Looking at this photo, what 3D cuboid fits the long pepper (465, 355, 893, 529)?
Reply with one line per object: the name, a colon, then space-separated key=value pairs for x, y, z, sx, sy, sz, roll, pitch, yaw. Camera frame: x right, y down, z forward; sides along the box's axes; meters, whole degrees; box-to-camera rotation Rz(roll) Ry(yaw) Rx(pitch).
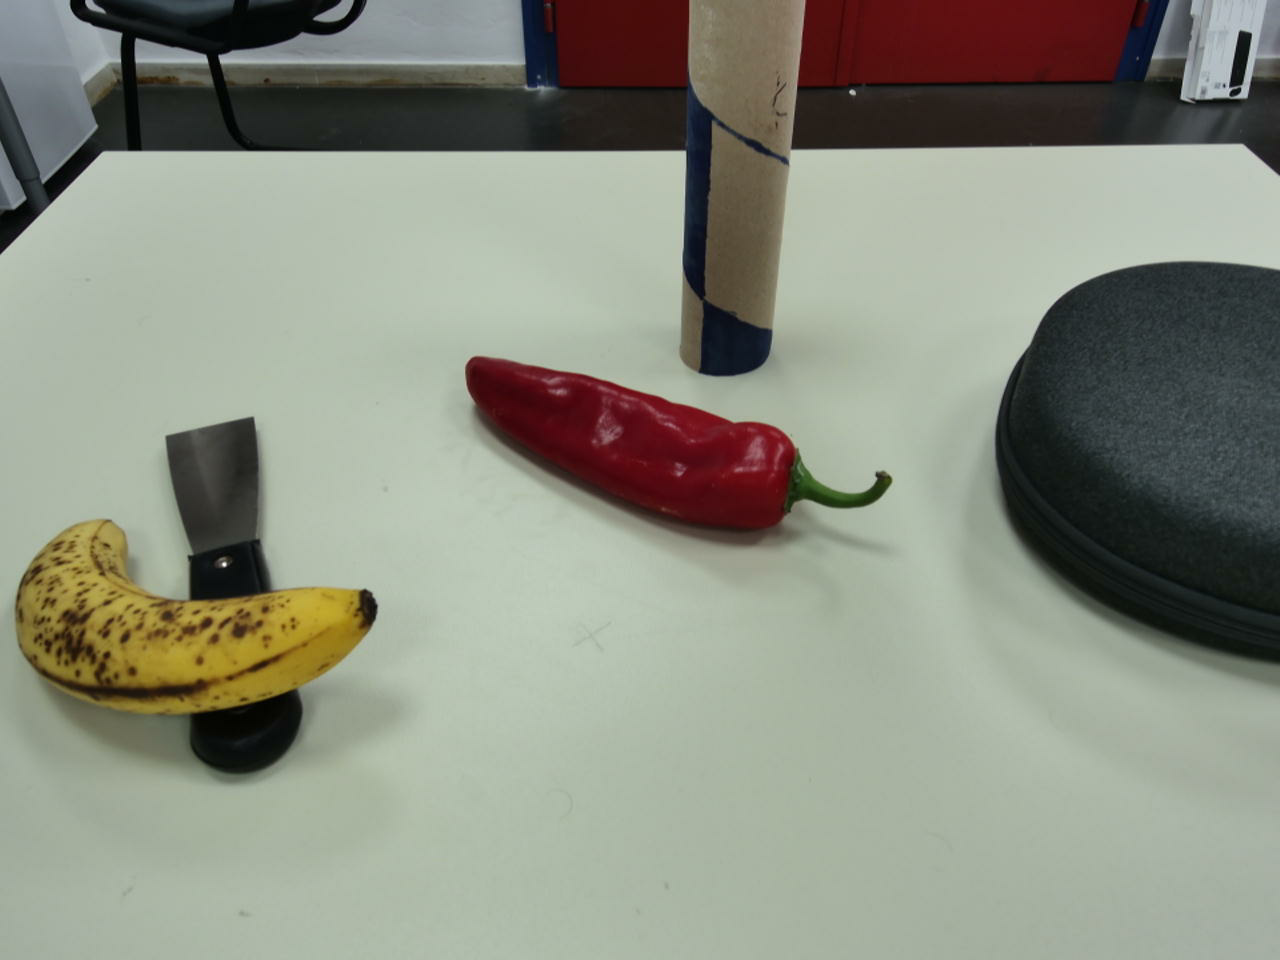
long pepper: x=0.002 y=-0.018 z=0.430 sx=0.211 sy=0.043 sz=0.050 roll=21 pitch=43 yaw=25
